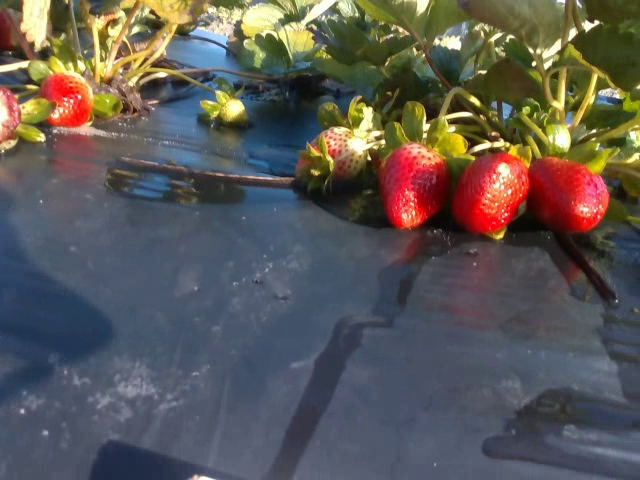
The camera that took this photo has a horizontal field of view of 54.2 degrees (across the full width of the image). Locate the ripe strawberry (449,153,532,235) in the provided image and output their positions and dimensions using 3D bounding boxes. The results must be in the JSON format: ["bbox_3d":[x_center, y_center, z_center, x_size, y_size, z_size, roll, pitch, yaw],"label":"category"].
[{"bbox_3d":[0.062,-0.021,0.226,0.030,0.037,0.039,20,-1,17],"label":"ripe strawberry"}]

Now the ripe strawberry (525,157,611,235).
[{"bbox_3d":[0.090,-0.014,0.224,0.035,0.034,0.041,7,9,10],"label":"ripe strawberry"}]

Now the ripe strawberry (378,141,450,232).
[{"bbox_3d":[0.035,-0.022,0.237,0.031,0.023,0.046,10,46,12],"label":"ripe strawberry"}]
